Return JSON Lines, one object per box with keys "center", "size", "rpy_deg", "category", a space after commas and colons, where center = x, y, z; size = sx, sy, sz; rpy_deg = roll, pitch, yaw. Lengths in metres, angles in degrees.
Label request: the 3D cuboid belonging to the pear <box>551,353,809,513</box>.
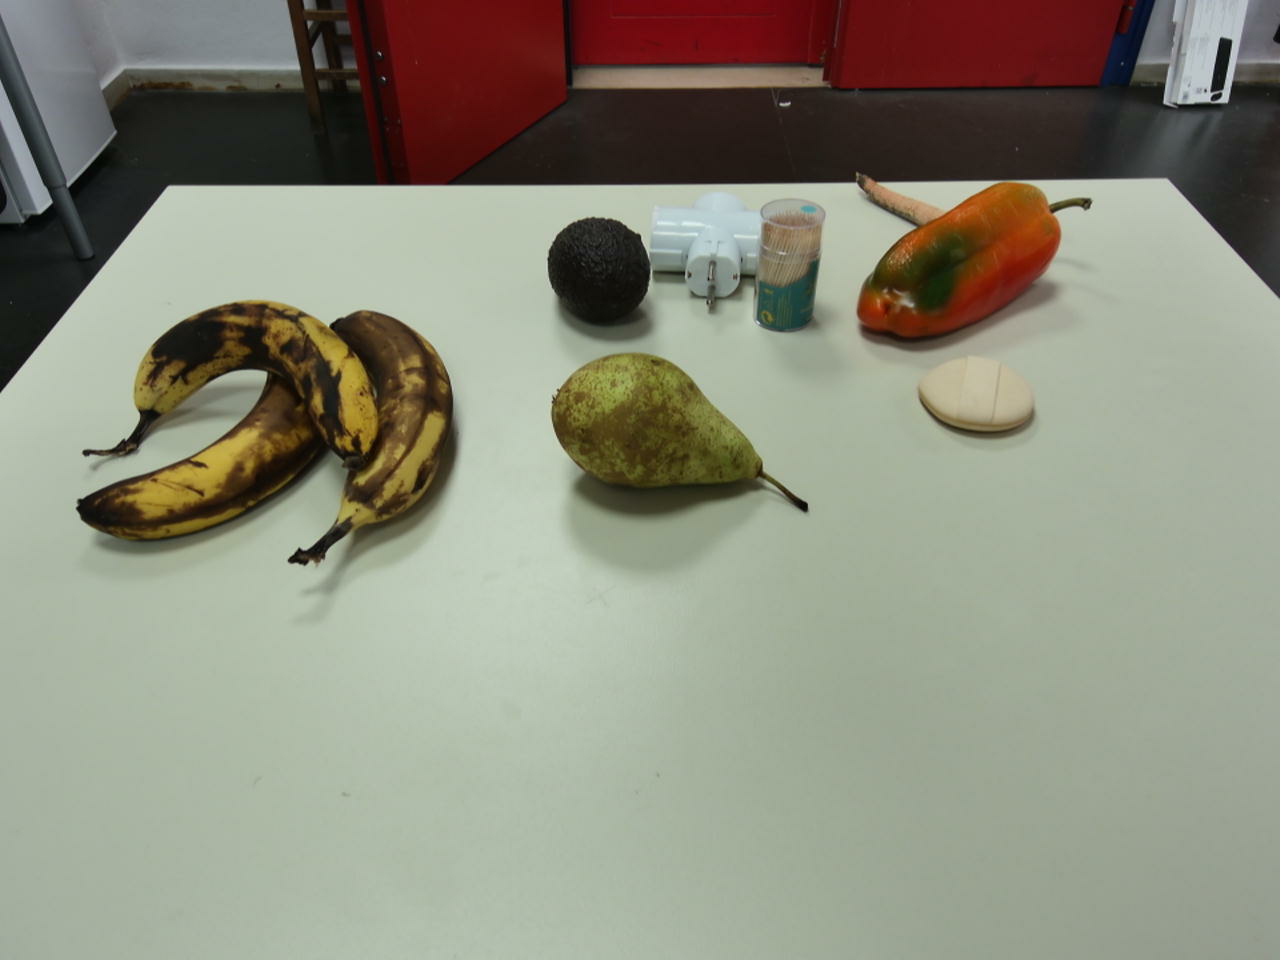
{"center": [0.018, -0.031, 0.521], "size": [0.128, 0.075, 0.071], "rpy_deg": [-5, 39, -6], "category": "pear"}
